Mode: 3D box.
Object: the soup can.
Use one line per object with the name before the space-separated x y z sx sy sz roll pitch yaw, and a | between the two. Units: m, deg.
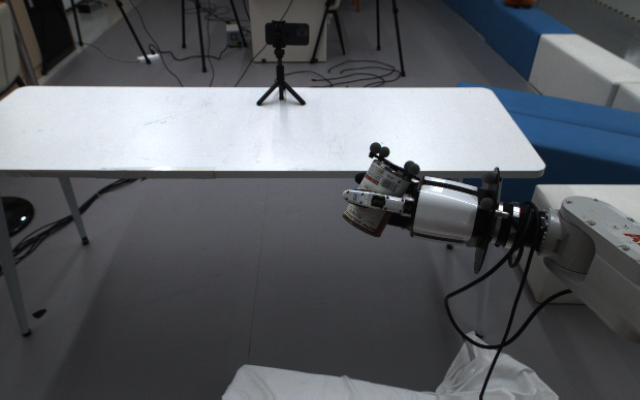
soup can | 0.088 -0.003 0.745 0.067 0.101 0.067 27 10 -5
